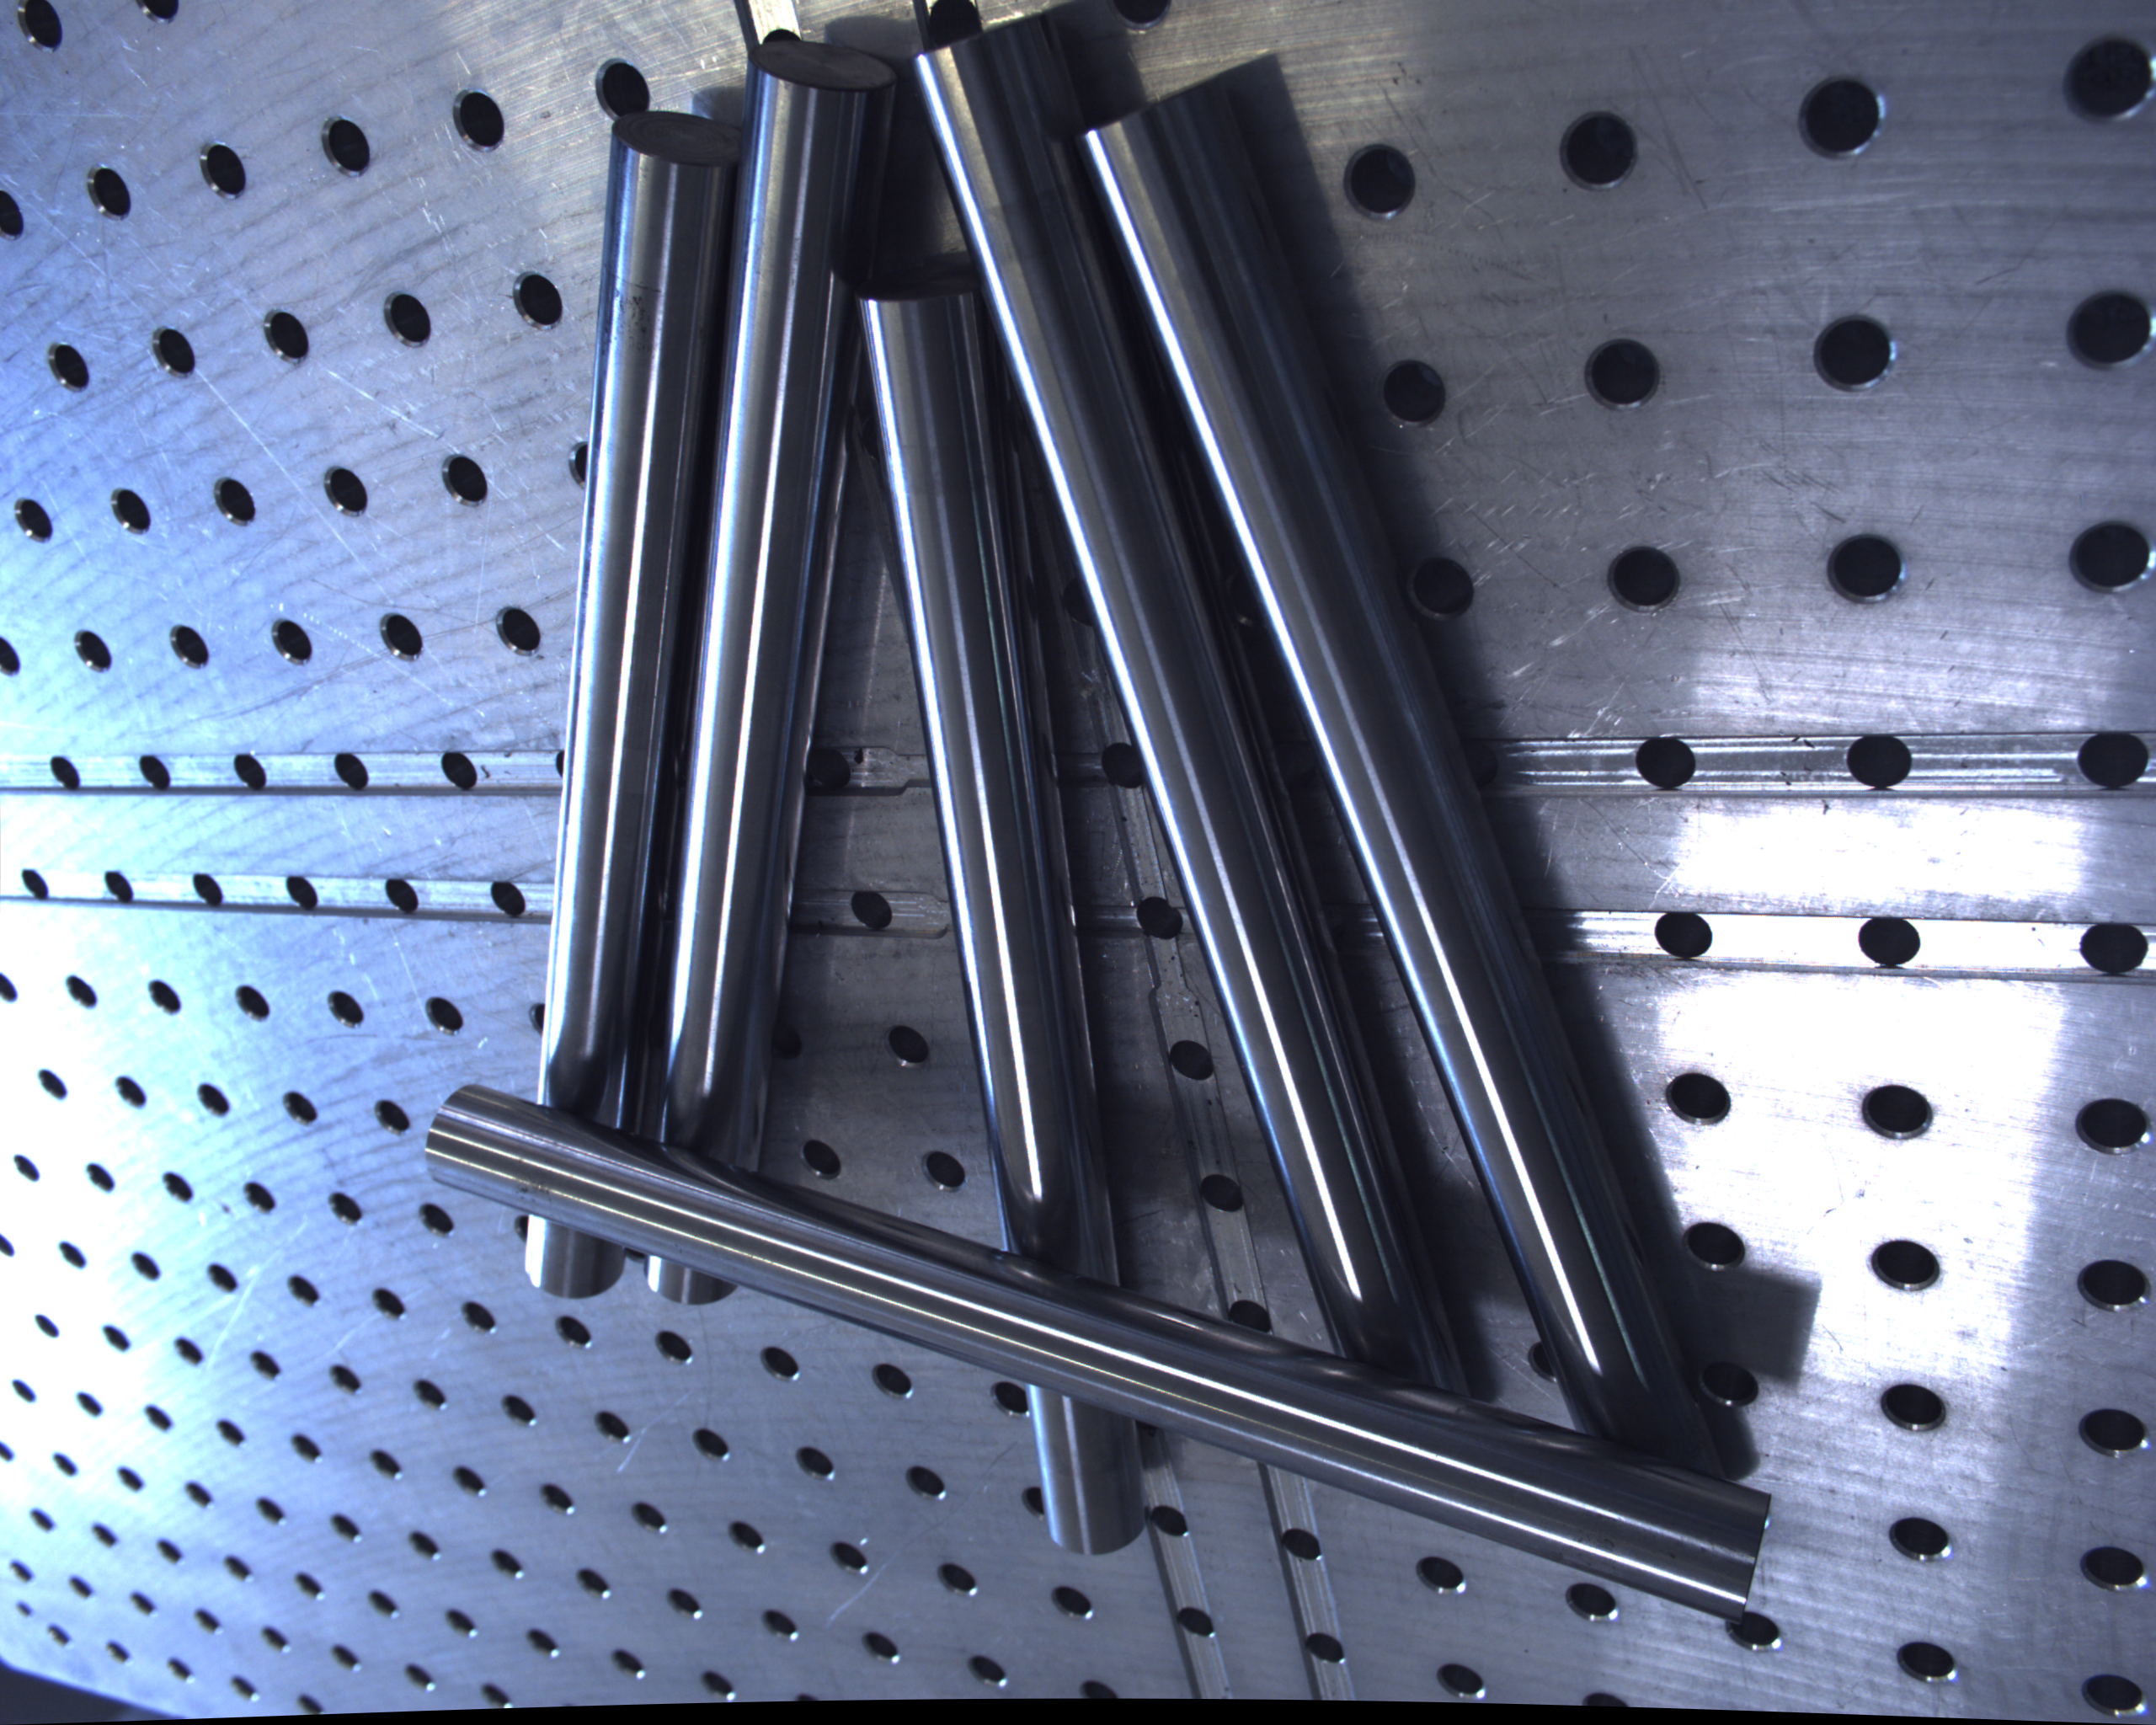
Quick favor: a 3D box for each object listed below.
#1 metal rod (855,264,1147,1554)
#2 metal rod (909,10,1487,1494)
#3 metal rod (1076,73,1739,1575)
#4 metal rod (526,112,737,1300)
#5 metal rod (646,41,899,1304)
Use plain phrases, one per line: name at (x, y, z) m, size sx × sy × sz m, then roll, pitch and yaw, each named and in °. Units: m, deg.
metal rod at (-0.011, 0.029, 0.435) m, size 0.025 × 0.025 × 0.298 m, roll 8°, pitch 122°, yaw 24°
metal rod at (0.030, -0.003, 0.394) m, size 0.025 × 0.025 × 0.299 m, roll -5°, pitch 116°, yaw 31°
metal rod at (0.068, 0.009, 0.381) m, size 0.025 × 0.025 × 0.299 m, roll -10°, pitch 113°, yaw 33°
metal rod at (-0.101, -0.012, 0.457) m, size 0.025 × 0.025 × 0.298 m, roll 24°, pitch 127°, yaw 13°
metal rod at (-0.069, -0.016, 0.439) m, size 0.025 × 0.025 × 0.298 m, roll 23°, pitch 127°, yaw 14°
